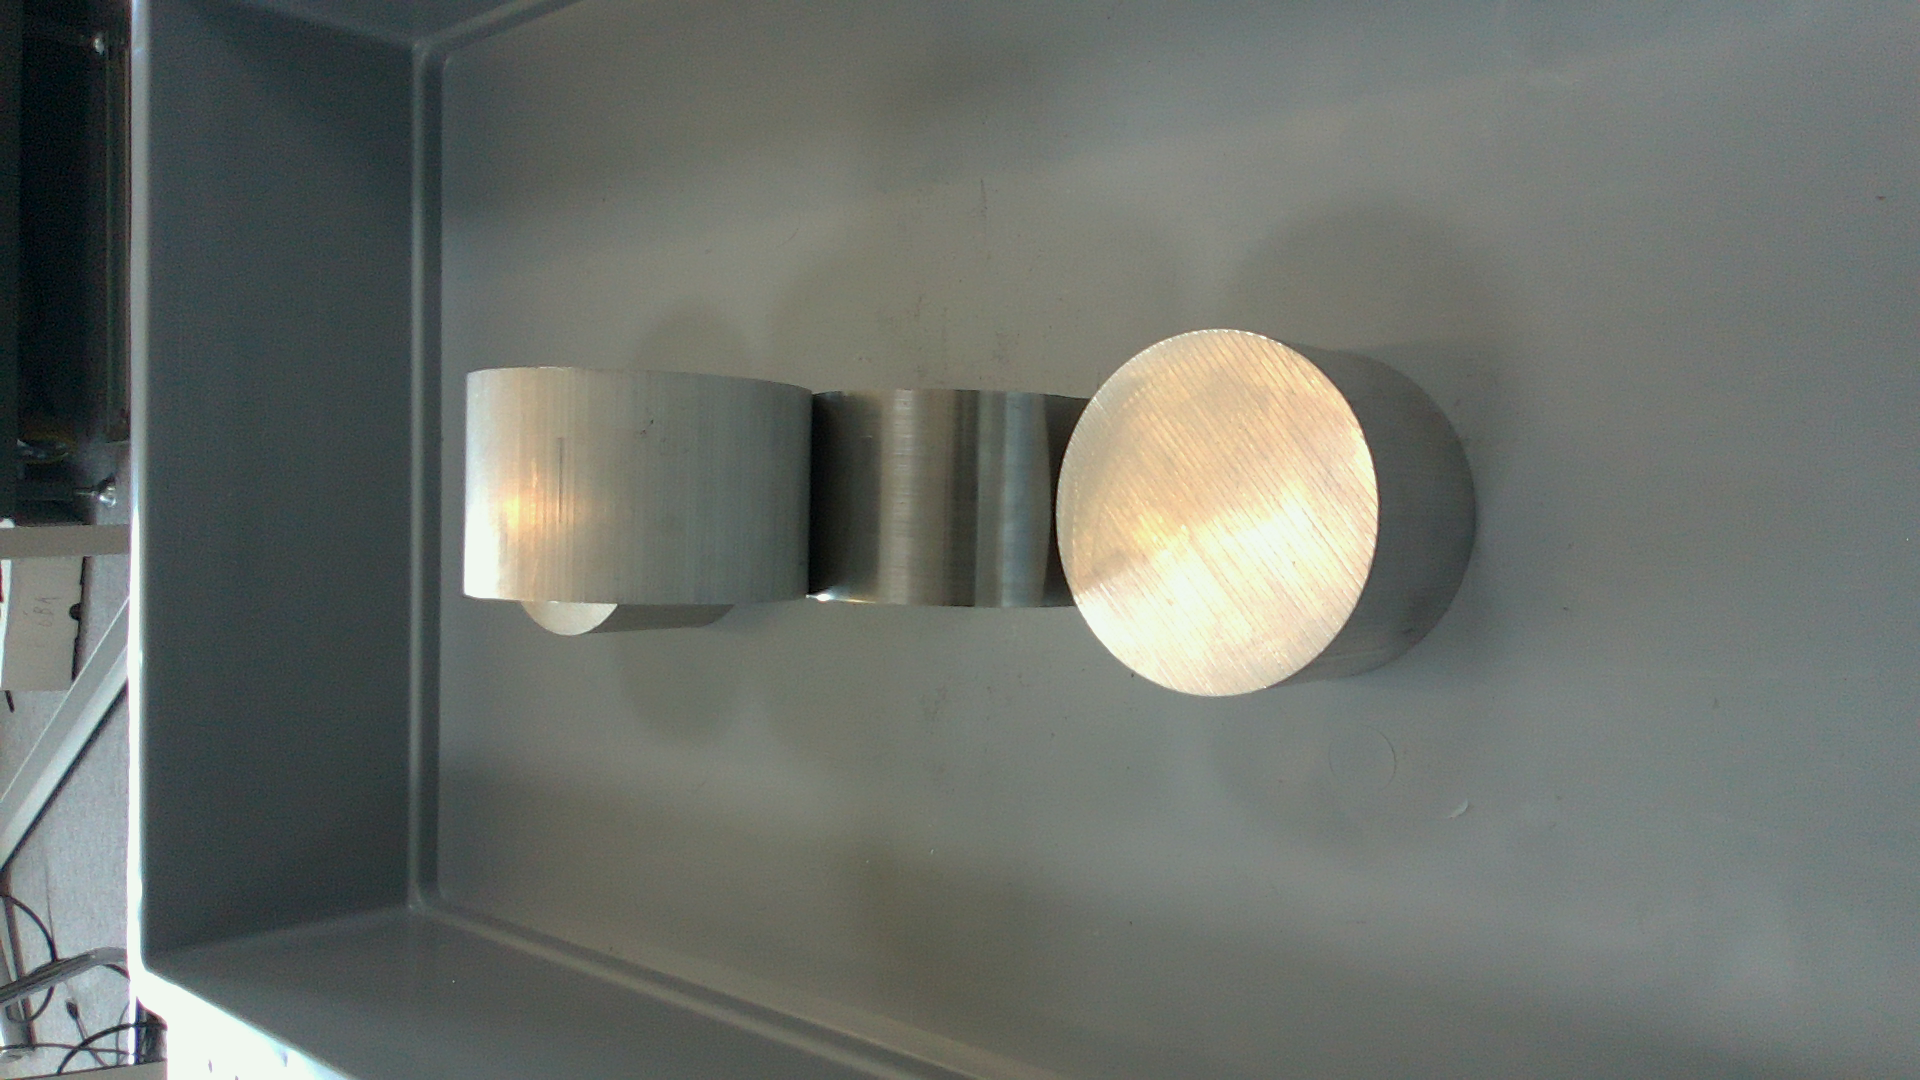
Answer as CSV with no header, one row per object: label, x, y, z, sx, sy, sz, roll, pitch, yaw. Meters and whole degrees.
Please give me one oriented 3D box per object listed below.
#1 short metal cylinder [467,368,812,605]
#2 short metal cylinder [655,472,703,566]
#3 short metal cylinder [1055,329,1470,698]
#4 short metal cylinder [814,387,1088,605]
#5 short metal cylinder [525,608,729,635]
short metal cylinder,-0.076,-0.012,0.331,0.080,0.080,0.050,2,91,40
short metal cylinder,-0.062,-0.013,0.409,0.080,0.080,0.050,2,91,40
short metal cylinder,0.069,-0.006,0.319,0.080,0.050,0.080,0,90,40
short metal cylinder,-0.001,-0.011,0.358,0.080,0.080,0.050,2,91,40
short metal cylinder,-0.114,-0.009,0.473,0.080,0.050,0.080,0,90,40
